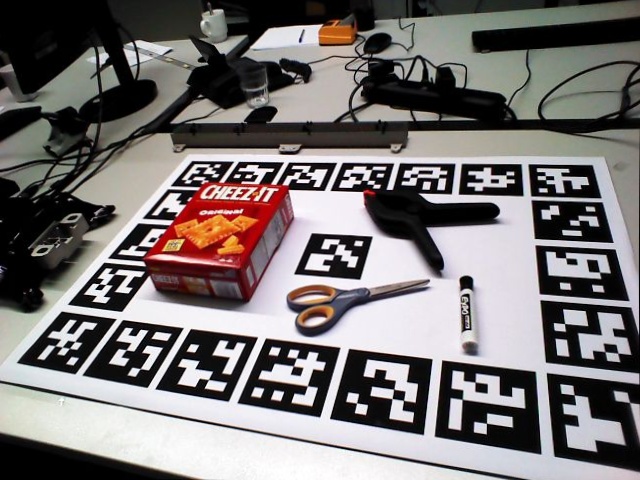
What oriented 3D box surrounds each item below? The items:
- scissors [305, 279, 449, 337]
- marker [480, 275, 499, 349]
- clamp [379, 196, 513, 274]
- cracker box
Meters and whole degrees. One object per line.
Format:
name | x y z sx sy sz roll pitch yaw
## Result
scissors | 0.078 0.078 0.700 0.203 0.016 0.087 -13 35 -7
marker | 0.213 0.086 0.652 0.020 0.020 0.120 0 37 15
clamp | 0.175 -0.029 0.828 0.164 0.037 0.203 -34 43 -31
cracker box | -0.127 0.000 0.816 0.165 0.072 0.212 3 38 19
